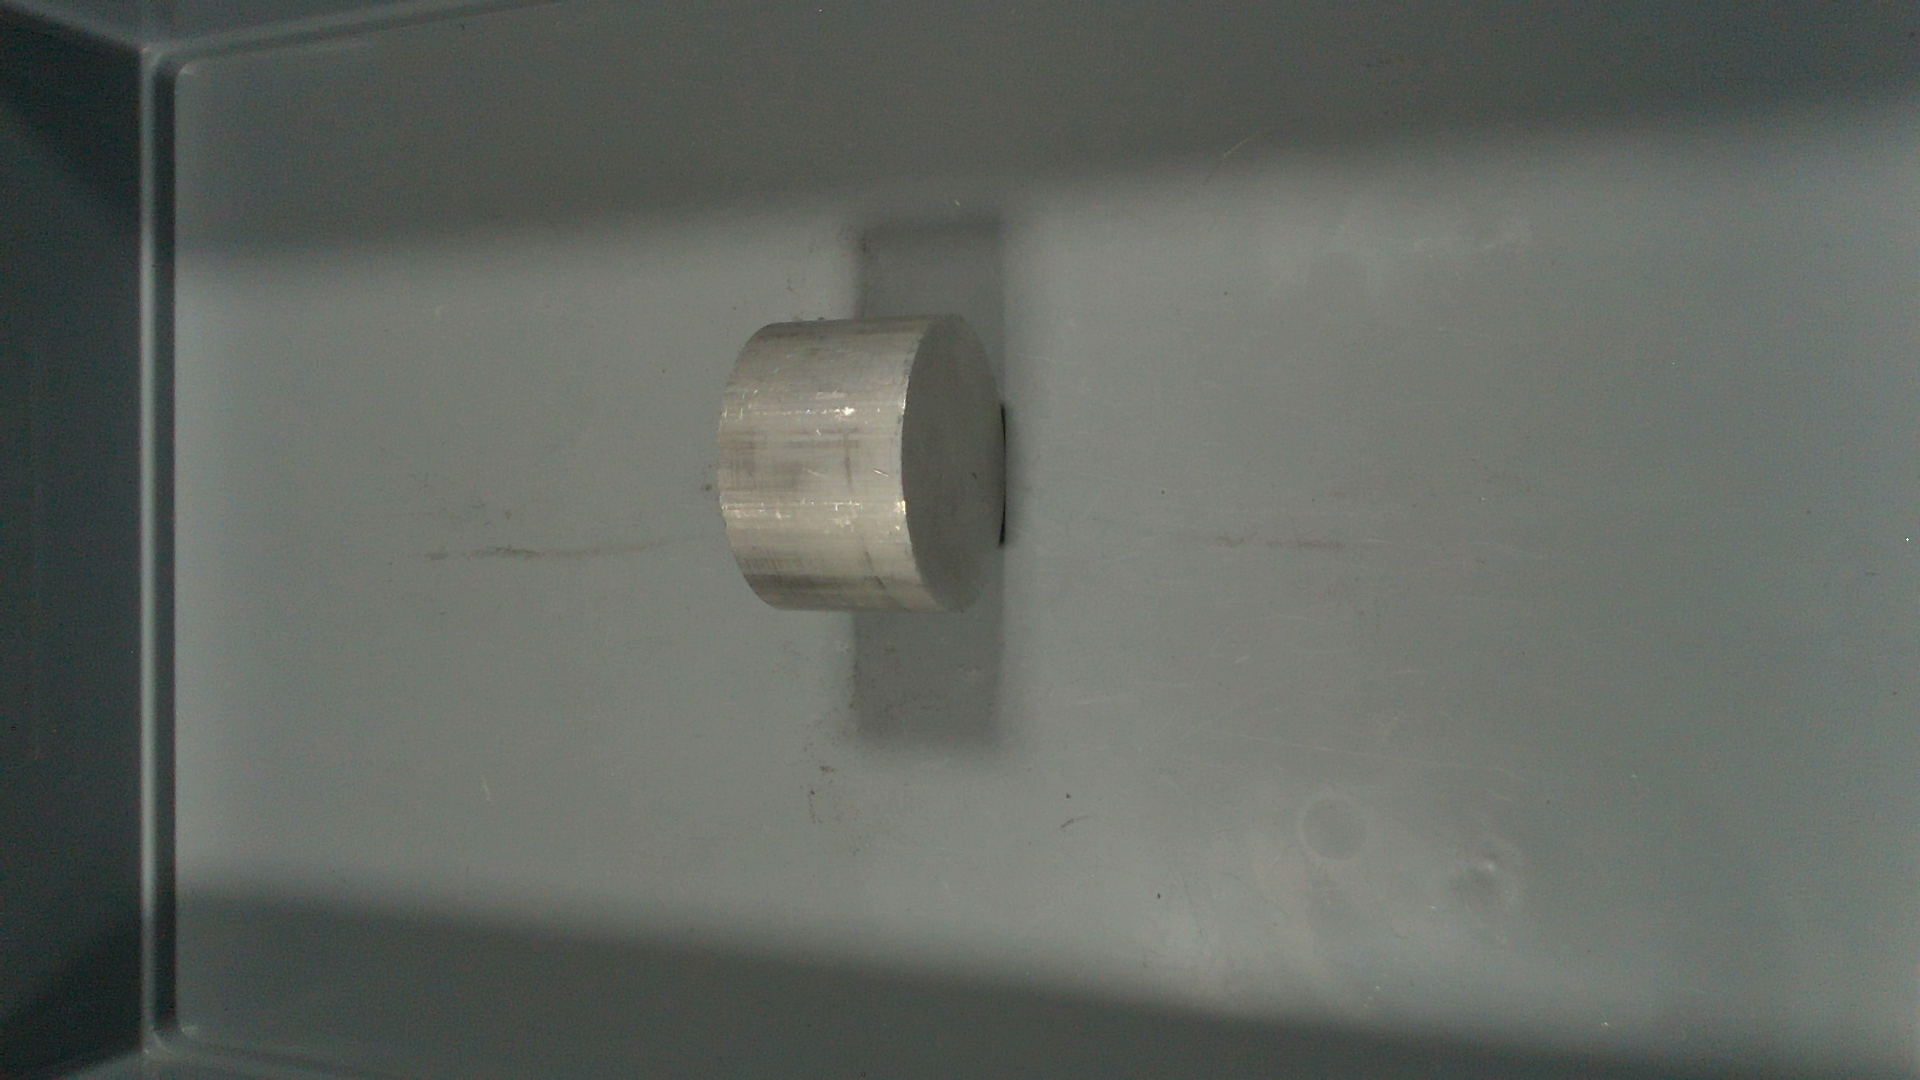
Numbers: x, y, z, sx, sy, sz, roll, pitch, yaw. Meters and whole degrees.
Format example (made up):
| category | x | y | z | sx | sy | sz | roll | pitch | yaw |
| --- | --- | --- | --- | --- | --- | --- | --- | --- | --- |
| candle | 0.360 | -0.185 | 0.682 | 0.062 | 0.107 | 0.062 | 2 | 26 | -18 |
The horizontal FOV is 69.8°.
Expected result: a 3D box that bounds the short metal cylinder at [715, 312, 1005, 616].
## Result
| category | x | y | z | sx | sy | sz | roll | pitch | yaw |
| --- | --- | --- | --- | --- | --- | --- | --- | --- | --- |
| short metal cylinder | -0.024 | -0.020 | 0.373 | 0.050 | 0.080 | 0.080 | 0 | 90 | 20 |
